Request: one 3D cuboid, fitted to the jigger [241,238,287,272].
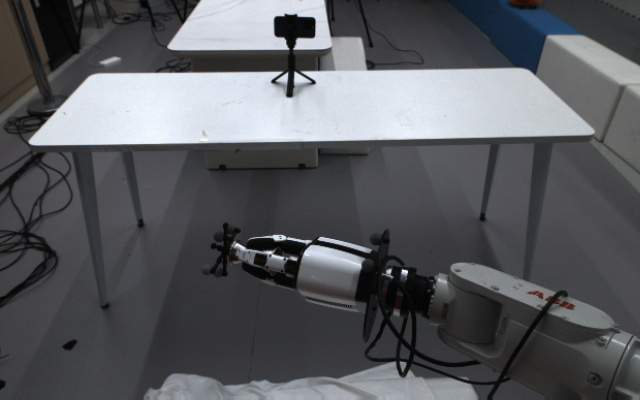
[{"bbox_3d":[-0.091,0.081,0.722,0.071,0.043,0.043,10,35,16],"label":"jigger"}]
